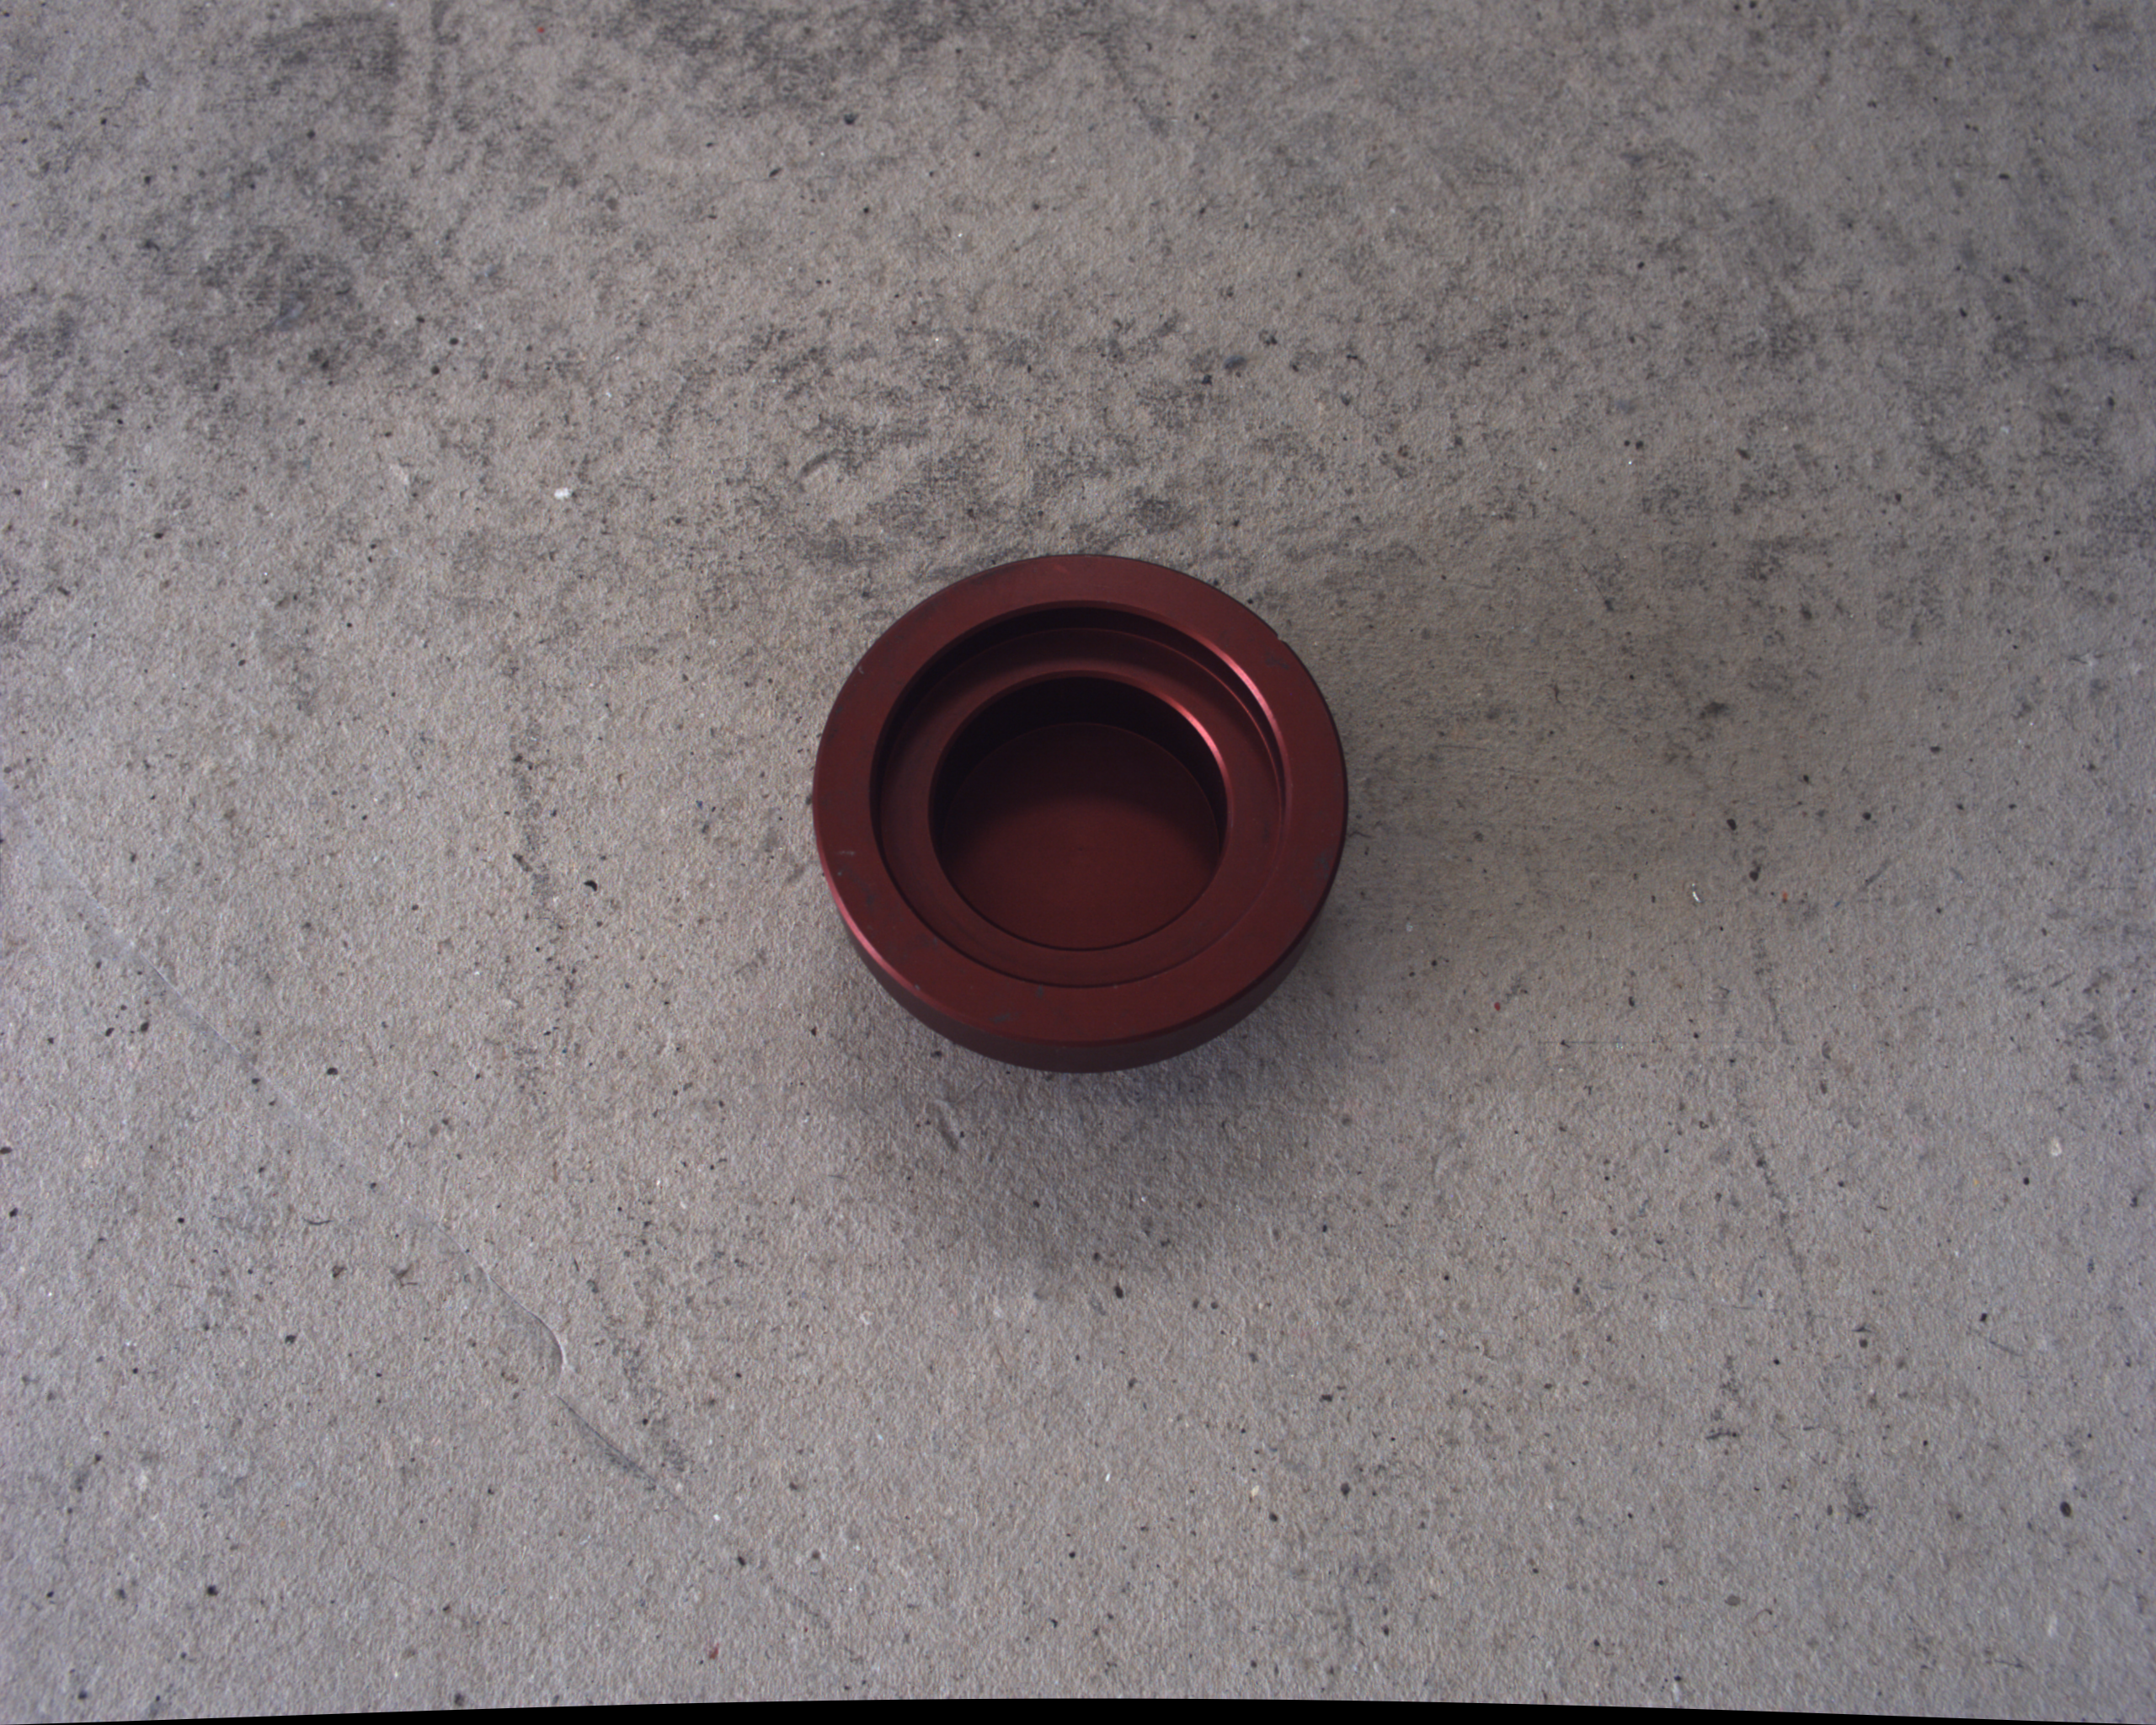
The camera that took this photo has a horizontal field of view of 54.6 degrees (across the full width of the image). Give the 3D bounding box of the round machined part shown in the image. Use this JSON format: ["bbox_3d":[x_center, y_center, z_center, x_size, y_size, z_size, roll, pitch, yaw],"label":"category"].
[{"bbox_3d":[0.001,-0.007,0.403,0.099,0.042,0.098,0,70,0],"label":"round machined part"}]
